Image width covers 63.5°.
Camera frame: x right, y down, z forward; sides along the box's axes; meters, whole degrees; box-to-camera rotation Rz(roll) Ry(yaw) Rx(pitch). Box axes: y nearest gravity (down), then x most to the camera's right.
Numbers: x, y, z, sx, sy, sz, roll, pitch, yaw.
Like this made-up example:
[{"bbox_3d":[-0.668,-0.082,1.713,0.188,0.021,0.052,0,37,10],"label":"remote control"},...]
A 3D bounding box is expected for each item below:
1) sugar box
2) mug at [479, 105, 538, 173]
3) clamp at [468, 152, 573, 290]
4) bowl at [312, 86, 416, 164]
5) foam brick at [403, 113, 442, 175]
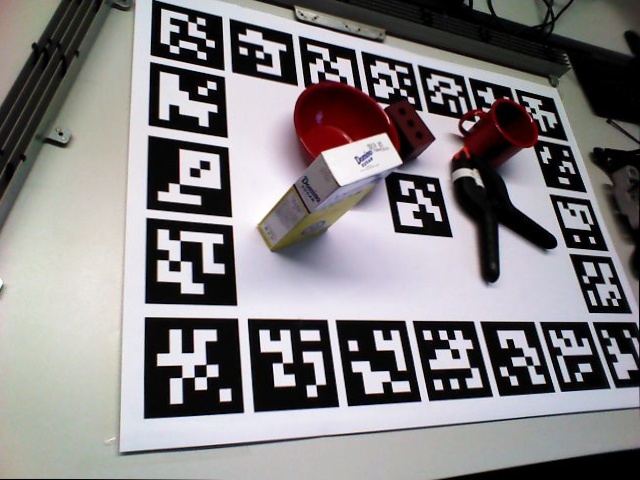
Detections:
[{"bbox_3d":[0.021,-0.034,0.581,0.092,0.178,0.045,-23,81,-33],"label":"sugar box"},{"bbox_3d":[0.309,-0.166,0.834,0.117,0.082,0.092,30,58,-15],"label":"mug"},{"bbox_3d":[0.286,-0.043,0.790,0.164,0.037,0.202,-22,79,-30],"label":"clamp"},{"bbox_3d":[0.049,-0.129,0.710,0.161,0.055,0.161,11,64,-23],"label":"bowl"},{"bbox_3d":[0.149,-0.144,0.774,0.052,0.052,0.078,-26,82,-31],"label":"foam brick"}]
